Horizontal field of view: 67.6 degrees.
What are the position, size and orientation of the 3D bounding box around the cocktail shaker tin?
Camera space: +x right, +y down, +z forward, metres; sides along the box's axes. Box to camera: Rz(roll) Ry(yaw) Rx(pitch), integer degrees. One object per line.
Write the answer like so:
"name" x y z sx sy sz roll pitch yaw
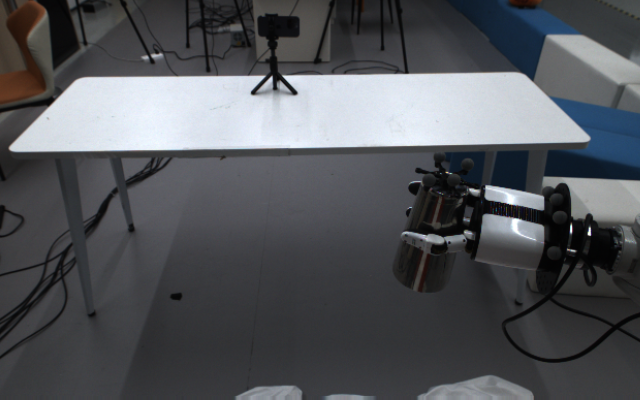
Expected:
"cocktail shaker tin" 0.169 0.043 0.722 0.093 0.170 0.093 4 36 -3
